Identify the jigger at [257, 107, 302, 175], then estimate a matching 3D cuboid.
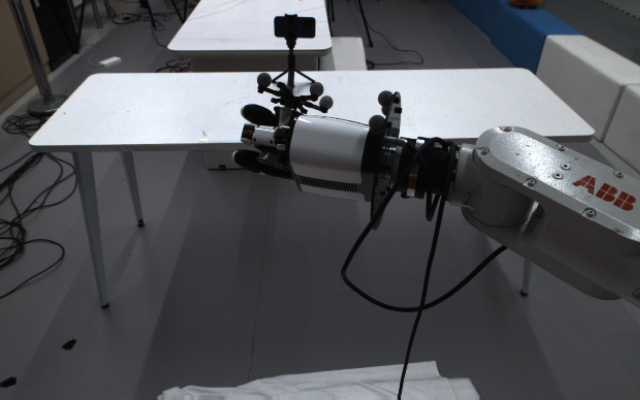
[{"bbox_3d":[-0.044,-0.074,0.590,0.043,0.071,0.043,15,-7,2],"label":"jigger"}]
